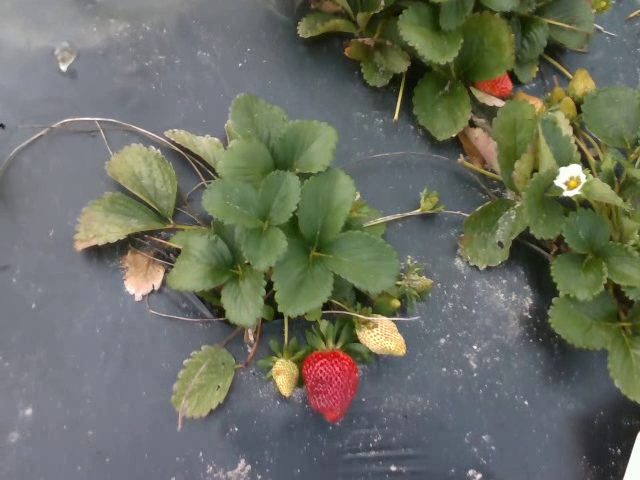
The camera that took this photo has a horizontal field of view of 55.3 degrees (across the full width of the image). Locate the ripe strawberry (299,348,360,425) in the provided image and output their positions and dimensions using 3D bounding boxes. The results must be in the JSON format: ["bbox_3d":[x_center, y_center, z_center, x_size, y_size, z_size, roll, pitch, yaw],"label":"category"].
[{"bbox_3d":[0.008,0.108,0.429,0.046,0.046,0.059,-2,42,-1],"label":"ripe strawberry"}]
